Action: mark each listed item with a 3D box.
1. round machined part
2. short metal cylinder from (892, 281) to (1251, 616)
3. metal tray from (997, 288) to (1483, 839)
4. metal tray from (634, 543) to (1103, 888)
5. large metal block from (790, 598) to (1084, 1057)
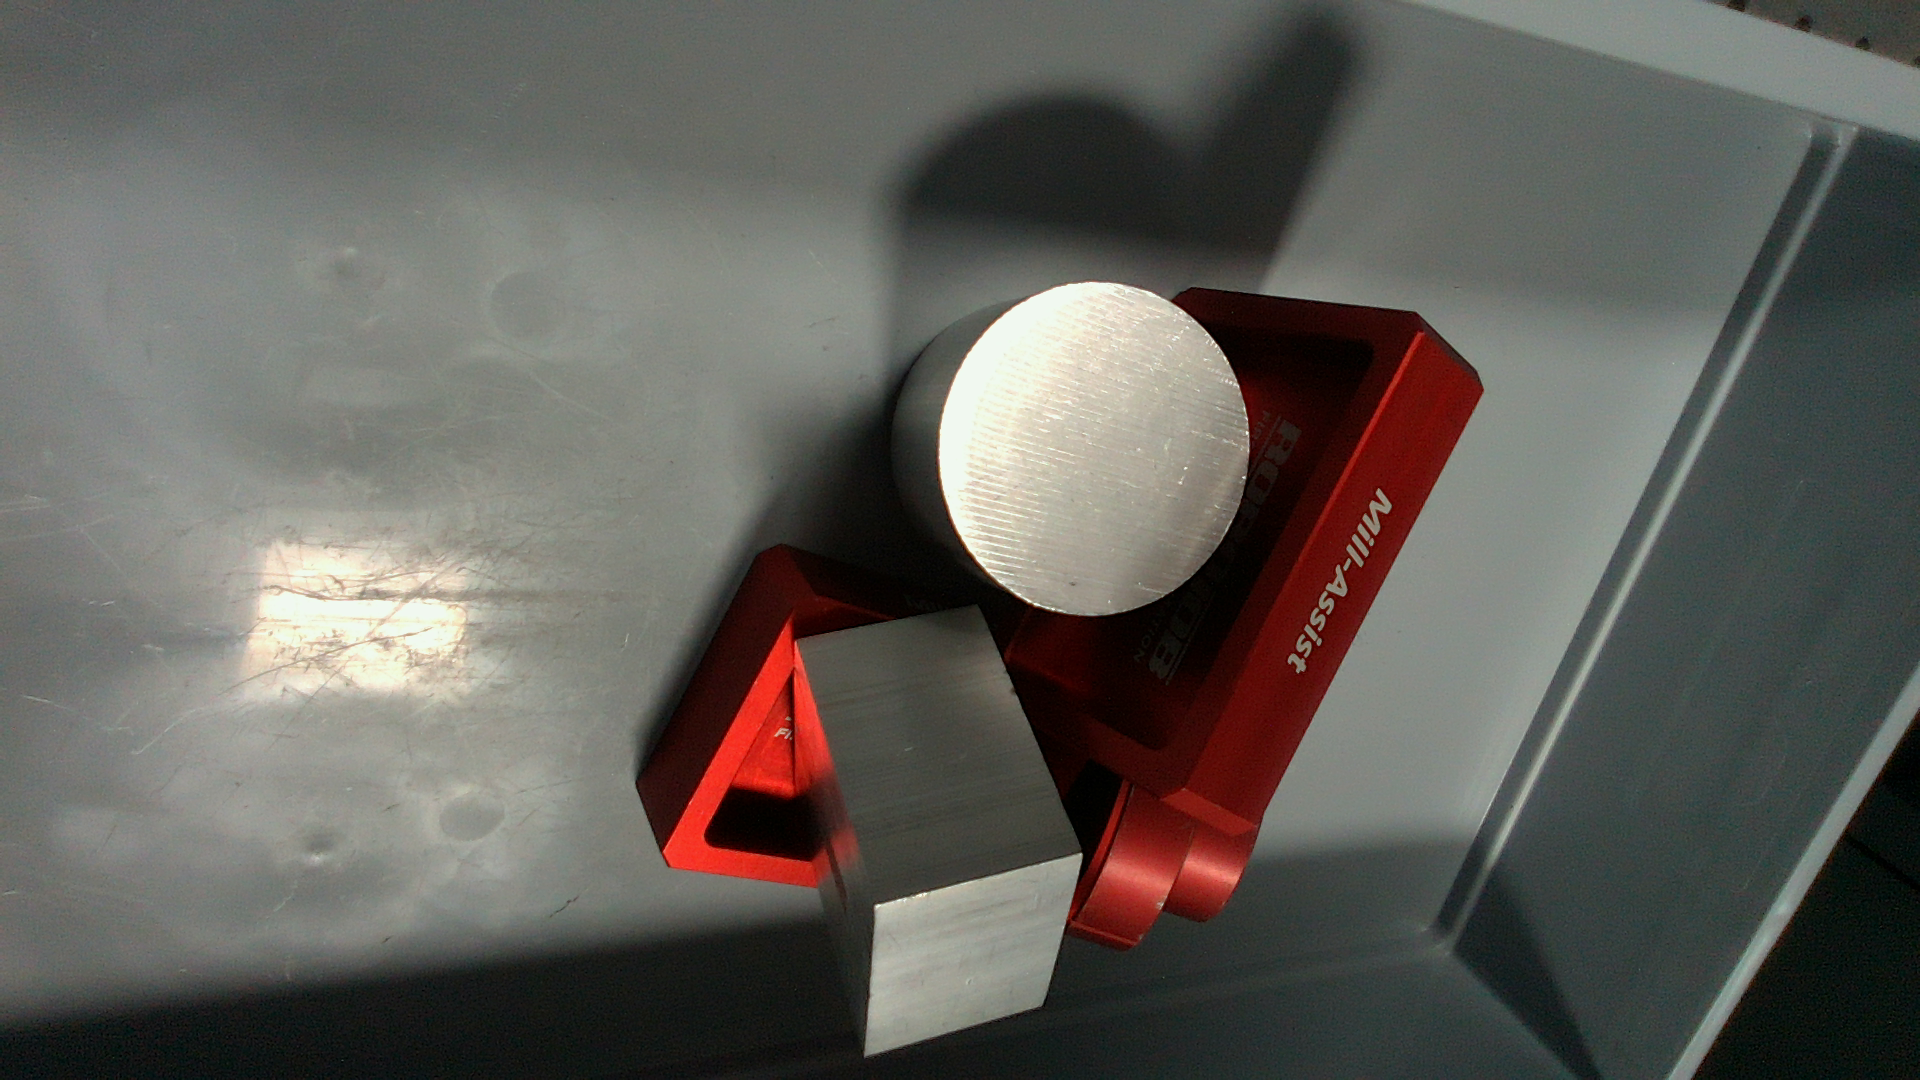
[{"bbox_3d":[0.062,0.076,0.417,0.042,0.098,0.098,18,112,-3],"label":"round machined part"},{"bbox_3d":[0.026,-0.024,0.352,0.080,0.050,0.080,-2,96,-17],"label":"short metal cylinder"},{"bbox_3d":[0.067,0.000,0.362,0.030,0.090,0.130,30,86,-35],"label":"metal tray"},{"bbox_3d":[-0.018,0.061,0.411,0.130,0.030,0.090,19,108,-35],"label":"metal tray"},{"bbox_3d":[-0.011,0.075,0.363,0.050,0.080,0.080,-10,139,-15],"label":"large metal block"}]
